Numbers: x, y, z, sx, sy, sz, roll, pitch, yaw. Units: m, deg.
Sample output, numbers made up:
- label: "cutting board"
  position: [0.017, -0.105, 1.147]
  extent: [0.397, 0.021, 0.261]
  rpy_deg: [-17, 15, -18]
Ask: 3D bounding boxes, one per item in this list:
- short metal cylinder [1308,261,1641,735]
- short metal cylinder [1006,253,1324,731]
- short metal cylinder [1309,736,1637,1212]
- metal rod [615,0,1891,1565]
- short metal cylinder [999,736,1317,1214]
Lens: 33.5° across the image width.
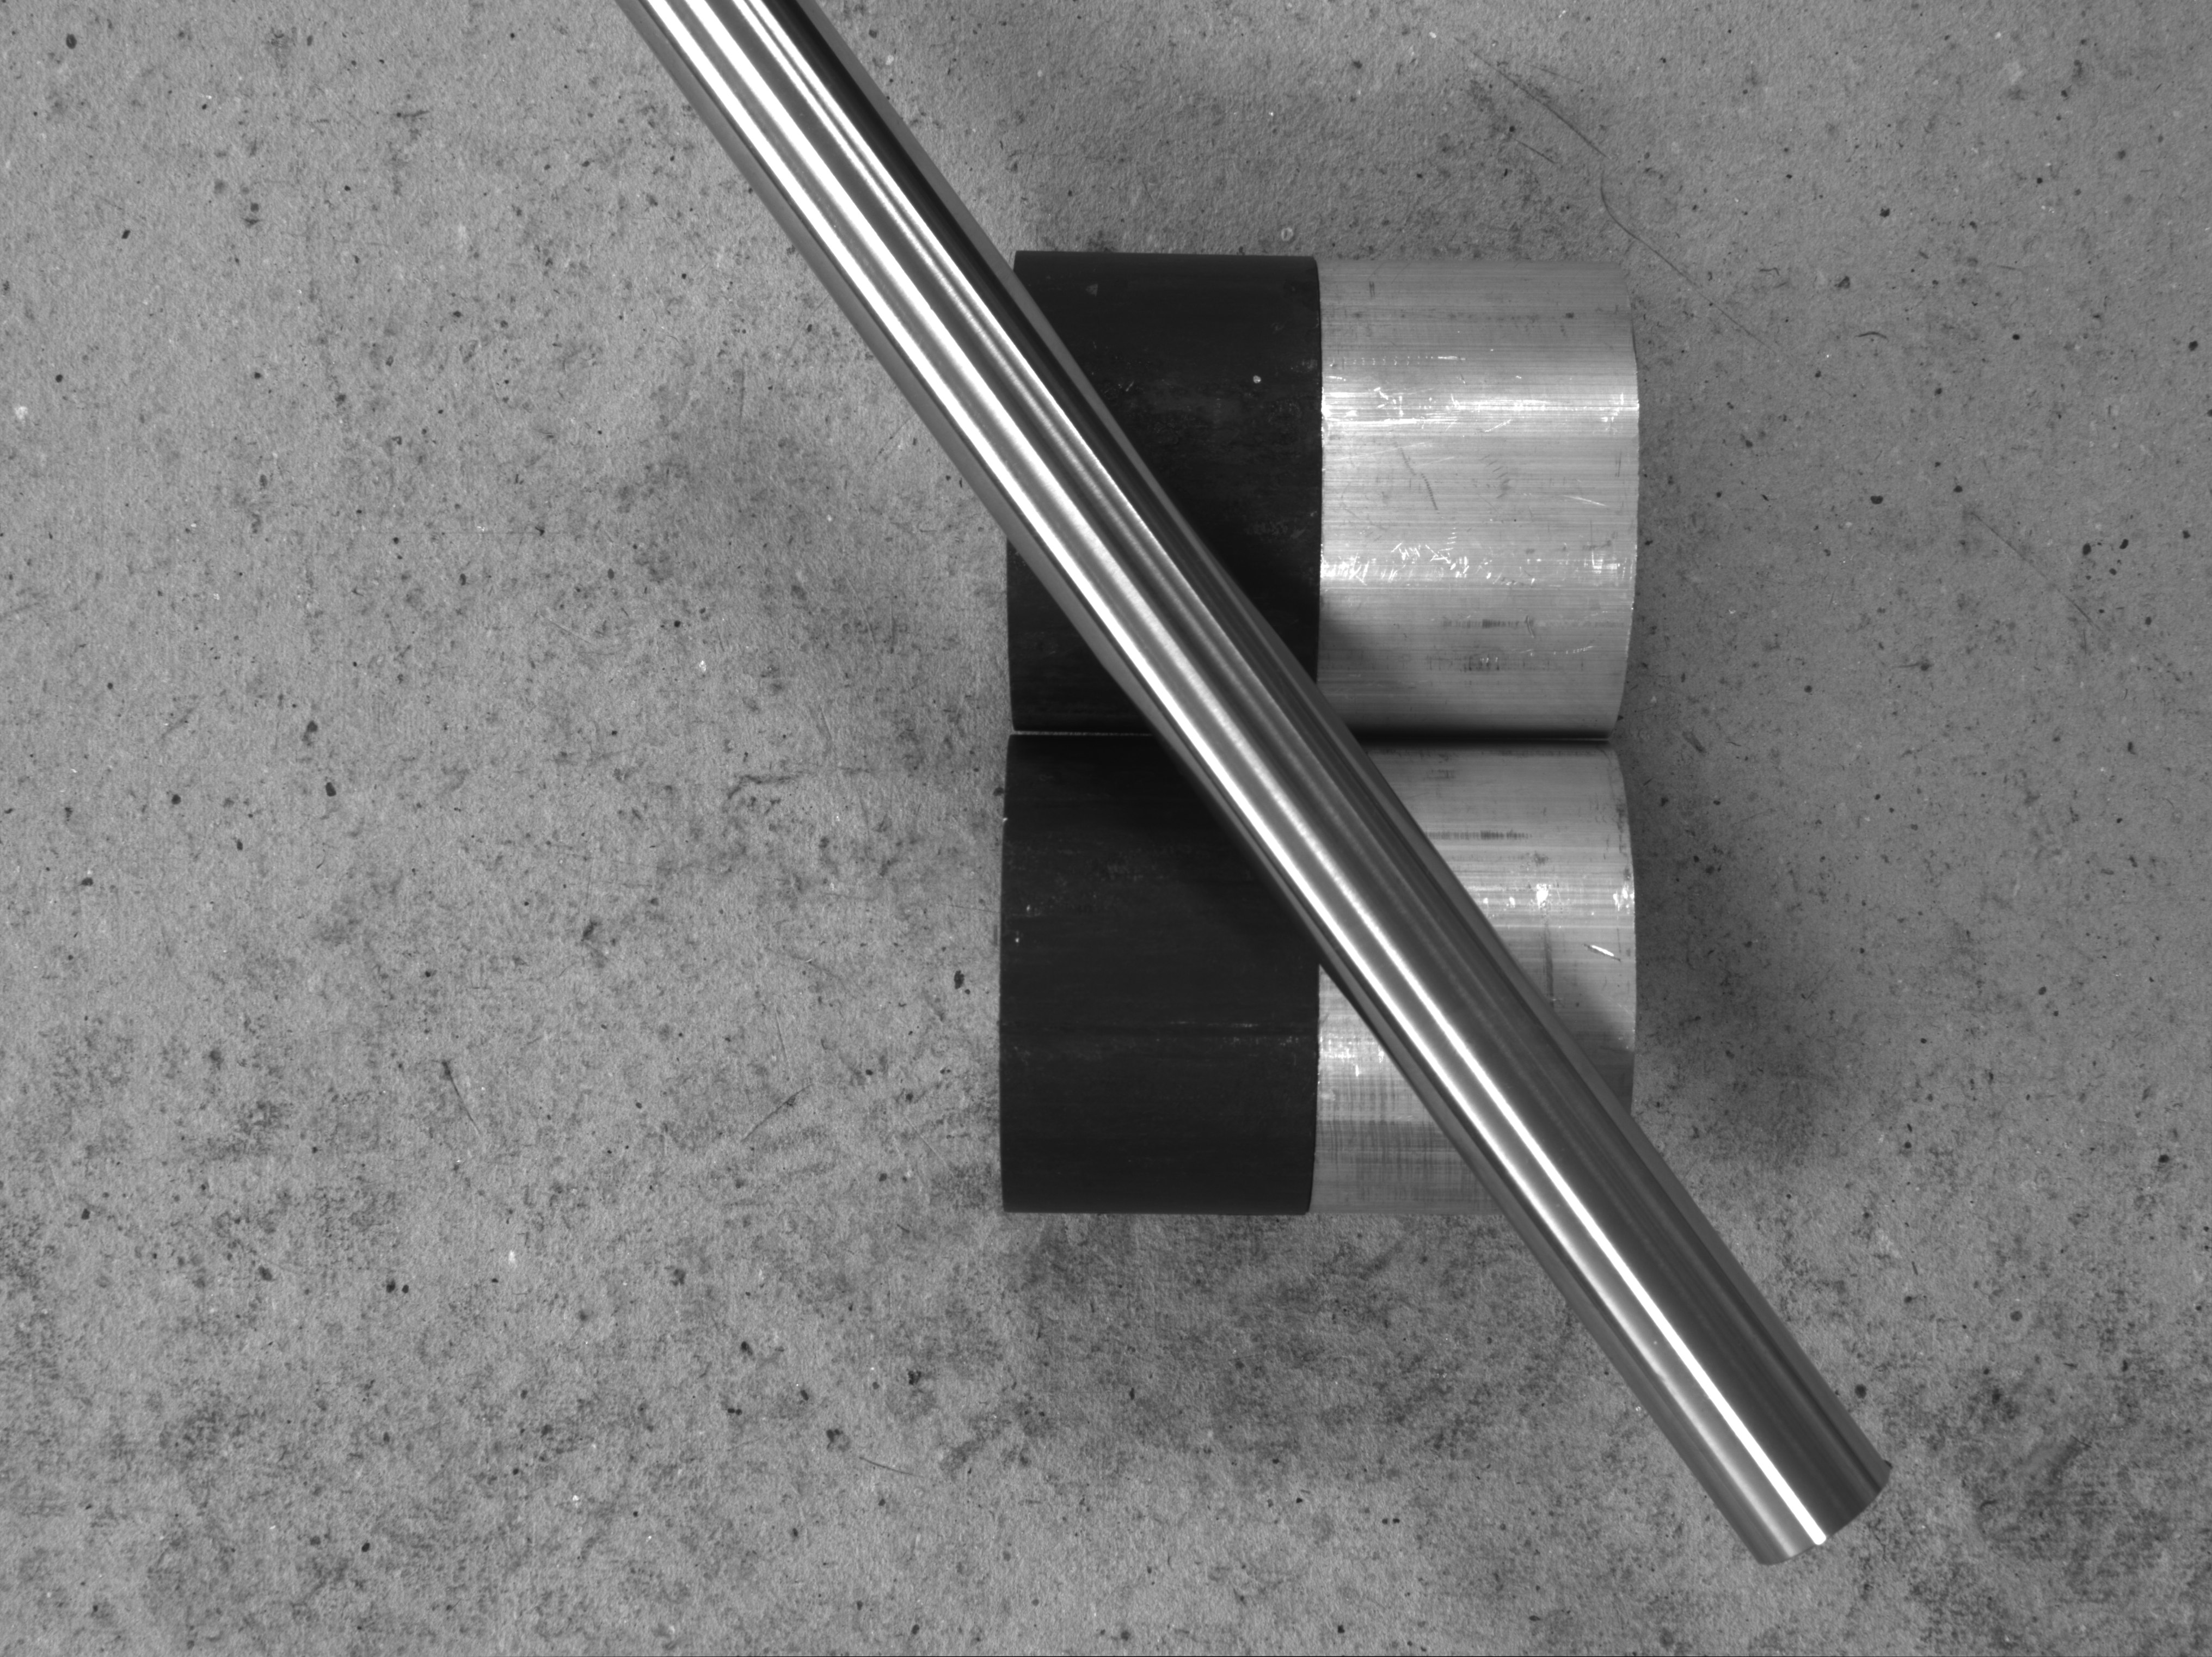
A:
- label: "short metal cylinder"
  position: [0.060, -0.055, 0.619]
  extent: [0.050, 0.080, 0.080]
  rpy_deg: [1, 90, 0]
- label: "short metal cylinder"
  position: [0.010, -0.056, 0.619]
  extent: [0.050, 0.080, 0.080]
  rpy_deg: [1, 90, 0]
- label: "short metal cylinder"
  position: [0.059, 0.025, 0.619]
  extent: [0.050, 0.080, 0.080]
  rpy_deg: [1, 90, 0]
- label: "metal rod"
  position: [0.022, -0.015, 0.566]
  extent: [0.025, 0.025, 0.300]
  rpy_deg: [-36, 90, 0]
- label: "short metal cylinder"
  position: [0.008, 0.025, 0.619]
  extent: [0.050, 0.080, 0.080]
  rpy_deg: [1, 90, 0]
